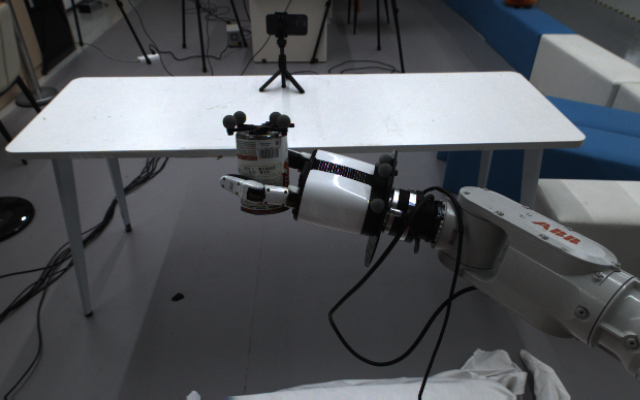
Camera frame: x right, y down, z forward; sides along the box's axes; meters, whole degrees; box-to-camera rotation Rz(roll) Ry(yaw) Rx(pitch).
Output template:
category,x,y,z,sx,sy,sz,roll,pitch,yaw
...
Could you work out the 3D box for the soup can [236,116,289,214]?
category,x,y,z,sx,sy,sz,roll,pitch,yaw
soup can,-0.073,-0.038,0.631,0.067,0.101,0.067,-1,17,0
